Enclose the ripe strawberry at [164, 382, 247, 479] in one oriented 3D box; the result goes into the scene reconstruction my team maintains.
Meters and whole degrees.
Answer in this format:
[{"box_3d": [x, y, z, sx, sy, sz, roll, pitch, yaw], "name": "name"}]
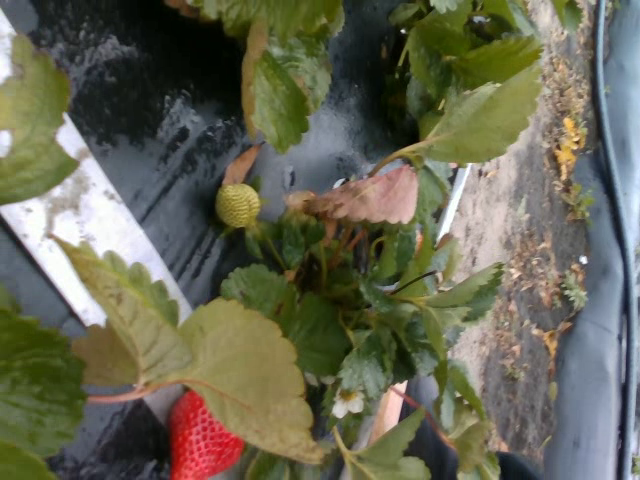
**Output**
[{"box_3d": [-0.052, 0.087, 0.253, 0.037, 0.042, 0.051, 21, 30, 6], "name": "ripe strawberry"}]
